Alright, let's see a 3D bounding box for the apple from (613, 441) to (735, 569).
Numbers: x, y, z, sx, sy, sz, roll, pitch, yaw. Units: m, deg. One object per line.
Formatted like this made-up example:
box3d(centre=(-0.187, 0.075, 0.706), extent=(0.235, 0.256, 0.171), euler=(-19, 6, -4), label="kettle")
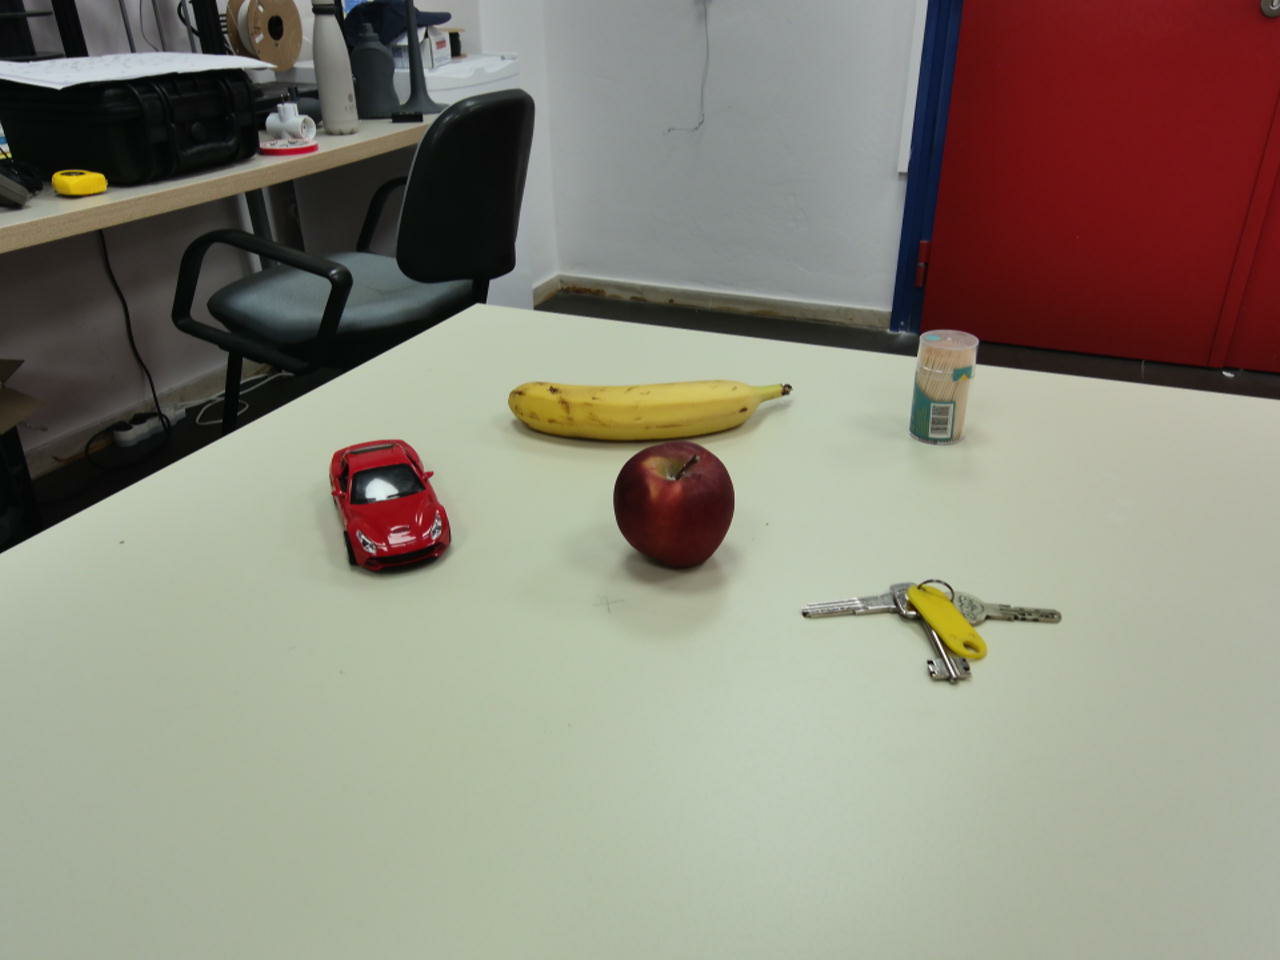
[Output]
box3d(centre=(0.020, 0.014, 0.567), extent=(0.070, 0.072, 0.070), euler=(1, 26, 0), label="apple")
